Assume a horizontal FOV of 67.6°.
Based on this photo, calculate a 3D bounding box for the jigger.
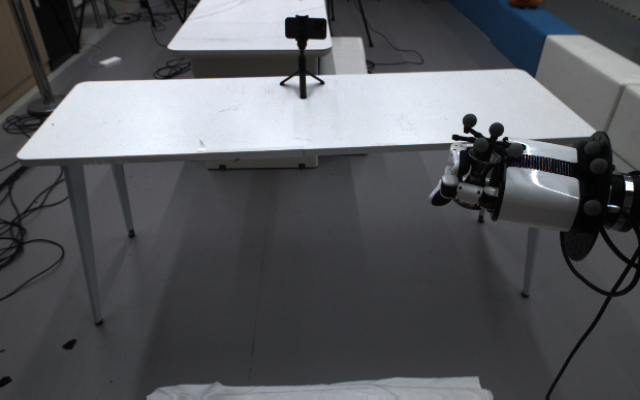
[{"bbox_3d":[0.199,-0.027,0.617,0.043,0.071,0.043,7,32,-4],"label":"jigger"}]
